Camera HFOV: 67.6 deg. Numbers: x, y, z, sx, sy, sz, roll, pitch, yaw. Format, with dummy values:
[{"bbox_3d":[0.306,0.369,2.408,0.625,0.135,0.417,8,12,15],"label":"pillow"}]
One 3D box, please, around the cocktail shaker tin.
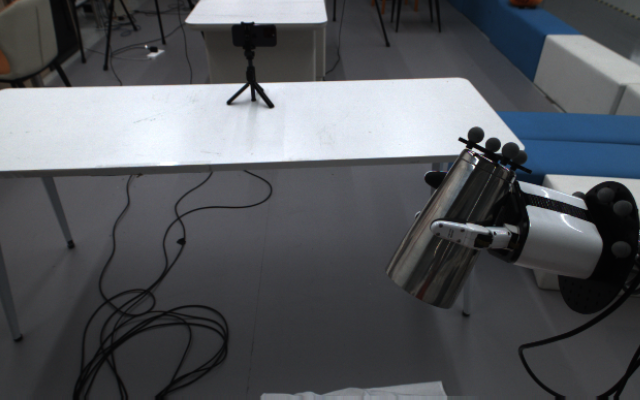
[{"bbox_3d":[0.159,0.029,0.570,0.093,0.170,0.093,24,12,-6],"label":"cocktail shaker tin"}]
